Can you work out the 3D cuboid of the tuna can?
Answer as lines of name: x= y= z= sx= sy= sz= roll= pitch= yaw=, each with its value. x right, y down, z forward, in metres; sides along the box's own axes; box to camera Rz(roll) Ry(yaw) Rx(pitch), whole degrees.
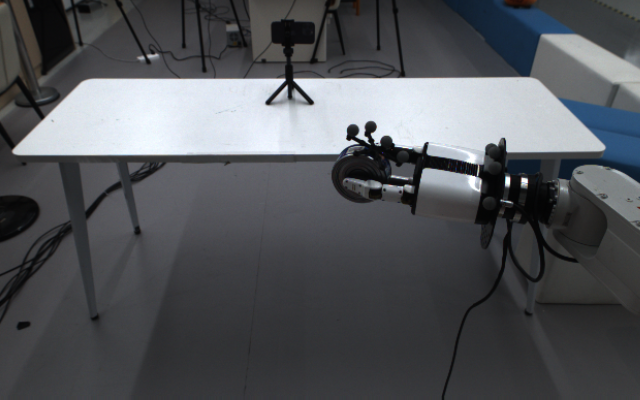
tuna can: x=0.064 y=-0.031 z=0.717 sx=0.085 sy=0.085 sz=0.034 roll=12 pitch=35 yaw=14
